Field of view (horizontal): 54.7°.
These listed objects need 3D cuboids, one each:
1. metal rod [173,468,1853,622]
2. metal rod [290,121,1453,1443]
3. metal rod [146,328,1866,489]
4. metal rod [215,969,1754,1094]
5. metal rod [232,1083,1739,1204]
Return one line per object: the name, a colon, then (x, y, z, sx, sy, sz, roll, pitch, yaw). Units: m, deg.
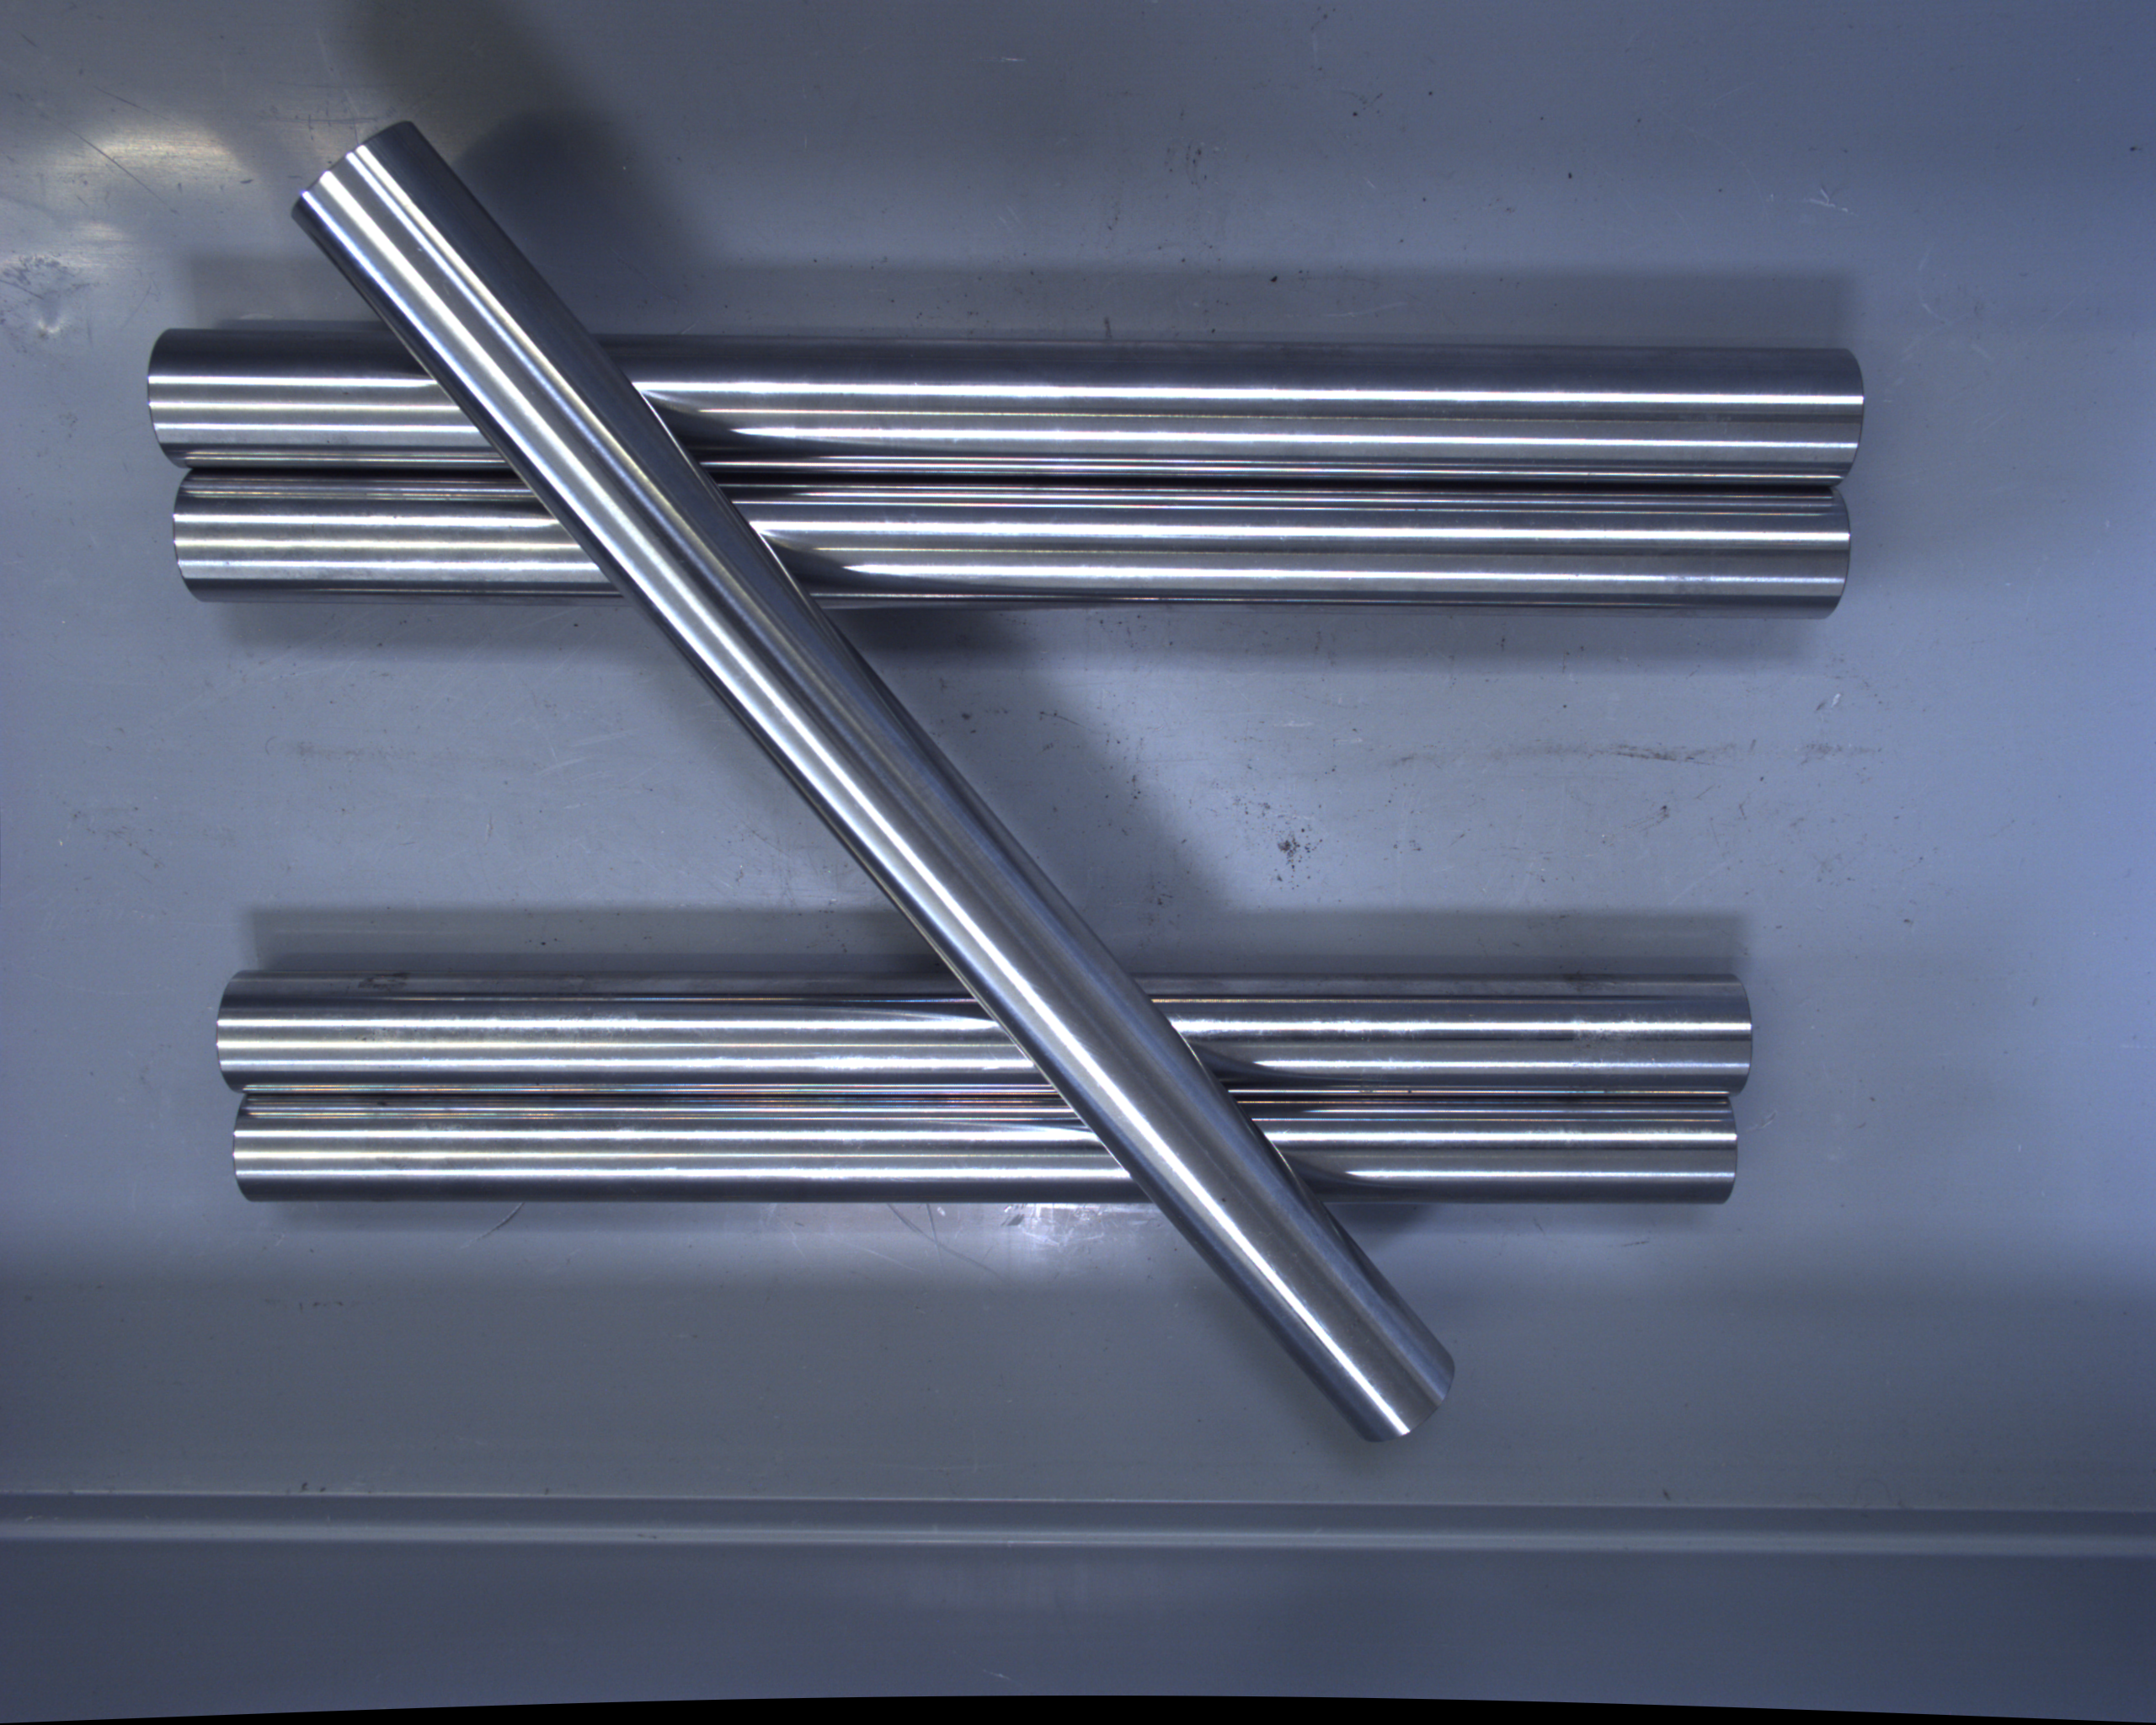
metal rod: (-0.011, -0.059, 0.387, 0.302, 0.025, 0.025, 1, 110, -1)
metal rod: (-0.026, -0.003, 0.382, 0.025, 0.025, 0.300, -36, 106, 12)
metal rod: (-0.012, -0.082, 0.379, 0.302, 0.025, 0.025, 1, 110, -1)
metal rod: (-0.018, 0.034, 0.422, 0.302, 0.025, 0.025, 0, 110, -1)
metal rod: (-0.018, 0.058, 0.430, 0.302, 0.025, 0.025, 0, 110, -1)
